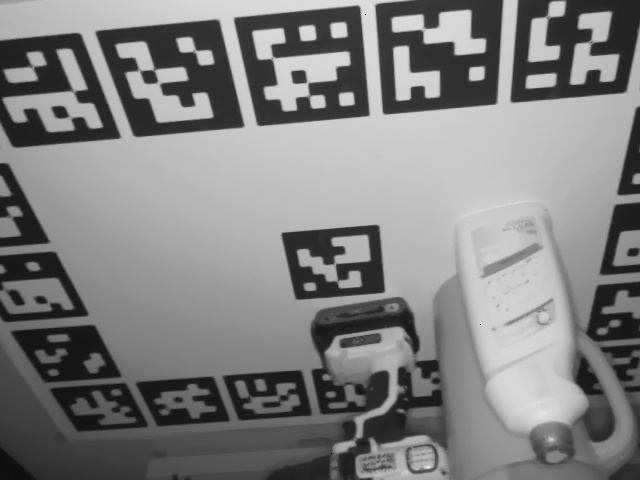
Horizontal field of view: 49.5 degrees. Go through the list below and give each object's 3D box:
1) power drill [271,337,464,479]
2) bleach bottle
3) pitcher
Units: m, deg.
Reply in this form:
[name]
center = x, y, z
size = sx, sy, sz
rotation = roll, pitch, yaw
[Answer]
[power drill]
center = 0.051, 0.186, 0.710
size = 0.184, 0.189, 0.057
rotation = -6, 125, 11
[bleach bottle]
center = 0.215, 0.096, 0.605
size = 0.102, 0.253, 0.067
rotation = -11, 127, 8
[pitcher]
center = 0.215, 0.163, 0.683
size = 0.187, 0.244, 0.133
rotation = -27, 122, 19
